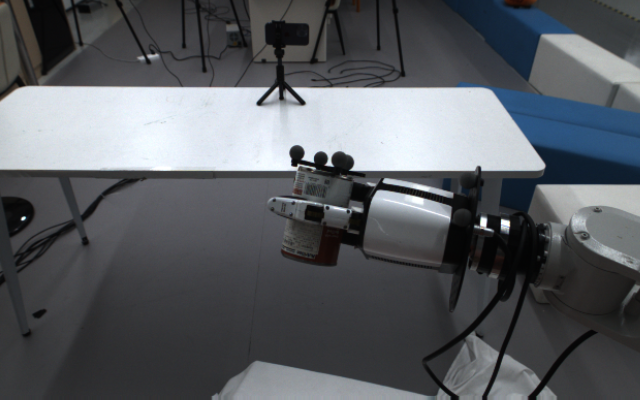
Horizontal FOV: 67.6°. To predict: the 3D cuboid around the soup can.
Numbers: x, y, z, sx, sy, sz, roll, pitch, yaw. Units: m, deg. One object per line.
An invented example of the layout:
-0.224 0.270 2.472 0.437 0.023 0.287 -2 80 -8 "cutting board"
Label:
-0.001 0.017 0.553 0.067 0.101 0.067 11 3 0 "soup can"
